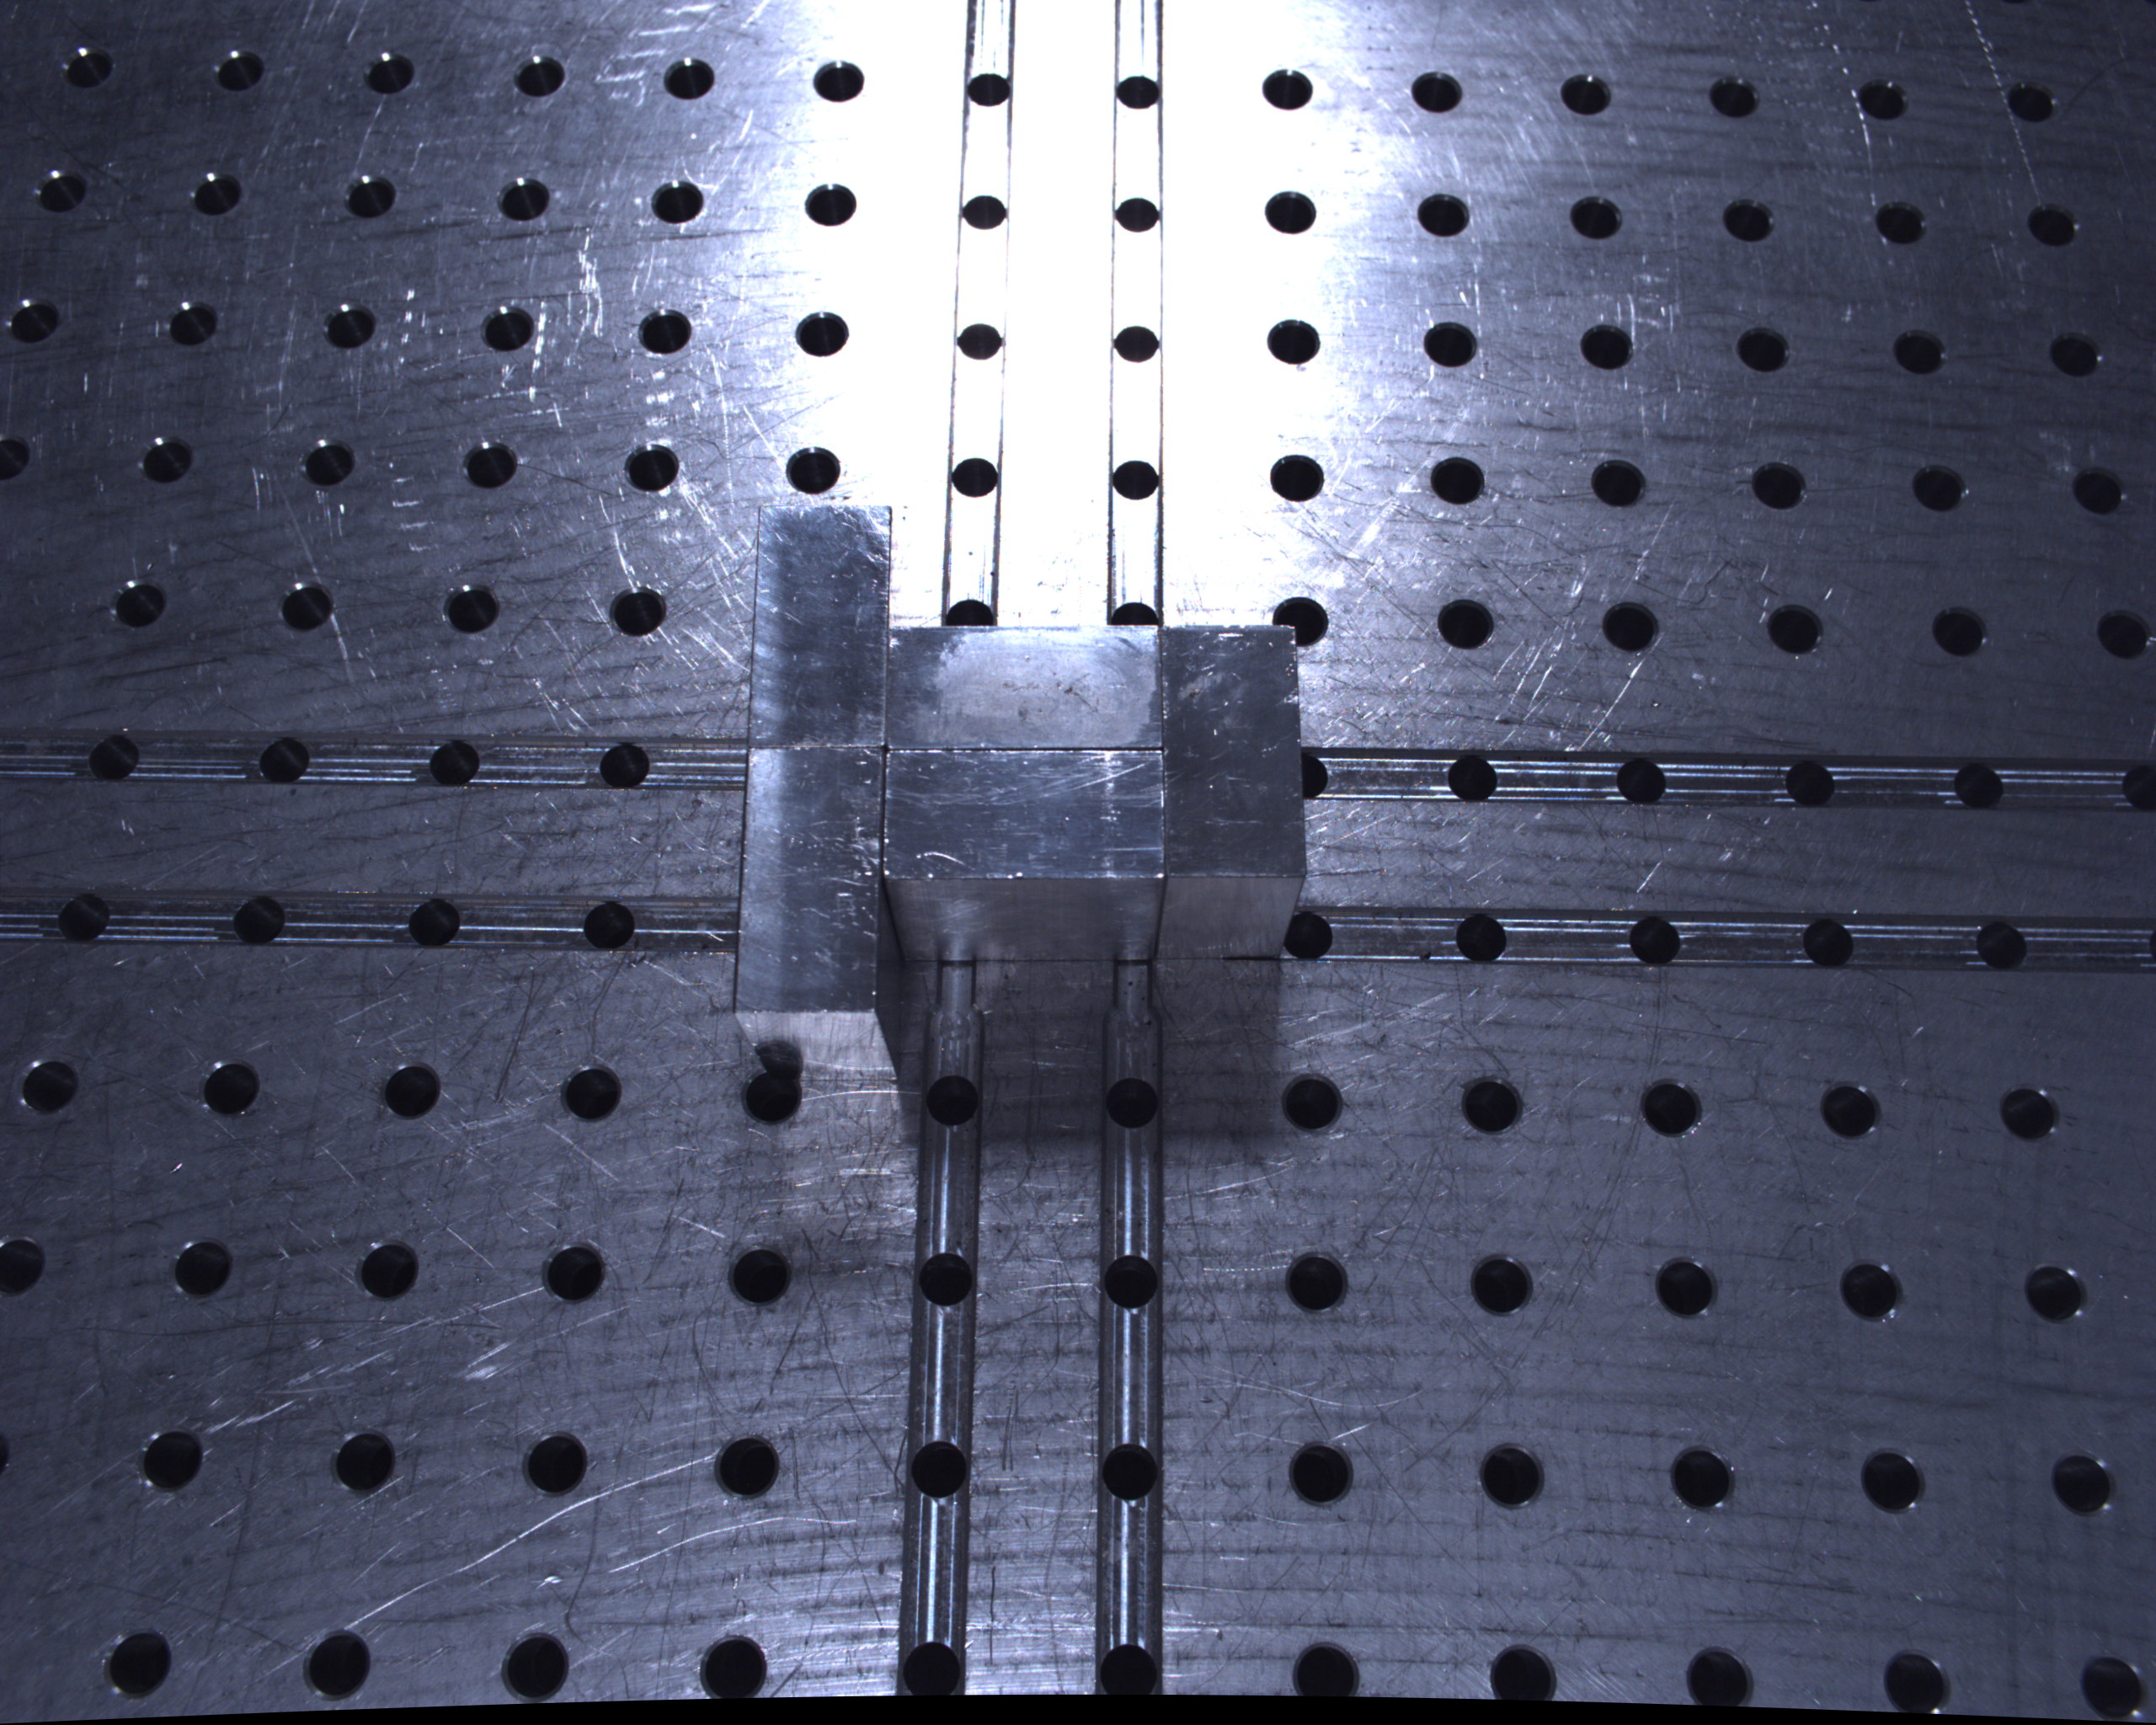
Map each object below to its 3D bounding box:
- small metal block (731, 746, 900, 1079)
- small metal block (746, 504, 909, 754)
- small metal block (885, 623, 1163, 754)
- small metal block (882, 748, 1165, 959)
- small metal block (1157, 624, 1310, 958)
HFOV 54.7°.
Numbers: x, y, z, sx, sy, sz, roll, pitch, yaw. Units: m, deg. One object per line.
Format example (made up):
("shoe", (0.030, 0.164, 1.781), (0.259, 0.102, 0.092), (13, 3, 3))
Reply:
("small metal block", (-0.048, 0.011, 0.393), (0.025, 0.050, 0.050), (0, 70, 0))
("small metal block", (-0.048, -0.036, 0.410), (0.025, 0.050, 0.050), (0, 70, 0))
("small metal block", (-0.010, -0.024, 0.406), (0.050, 0.050, 0.025), (0, 70, -1))
("small metal block", (-0.010, -0.001, 0.398), (0.050, 0.050, 0.025), (0, 70, -1))
("small metal block", (0.028, -0.013, 0.403), (0.025, 0.050, 0.050), (0, 70, 0))
